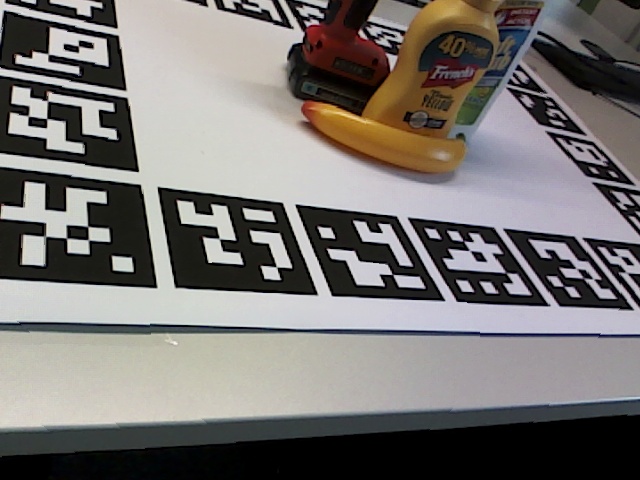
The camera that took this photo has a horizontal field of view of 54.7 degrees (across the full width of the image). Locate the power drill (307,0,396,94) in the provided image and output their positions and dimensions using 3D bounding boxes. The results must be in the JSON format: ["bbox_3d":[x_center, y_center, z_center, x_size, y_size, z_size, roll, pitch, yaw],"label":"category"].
[{"bbox_3d":[0.079,-0.245,0.629,0.184,0.187,0.057,15,39,-19],"label":"power drill"}]

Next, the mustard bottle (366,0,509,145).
[{"bbox_3d":[0.127,-0.177,0.614,0.095,0.191,0.059,5,43,-28],"label":"mustard bottle"}]

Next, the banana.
[{"bbox_3d":[0.085,-0.097,0.638,0.196,0.039,0.074,6,44,-22],"label":"banana"}]

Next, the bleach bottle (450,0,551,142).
[{"bbox_3d":[0.182,-0.230,0.669,0.102,0.251,0.068,7,37,-25],"label":"bleach bottle"}]
